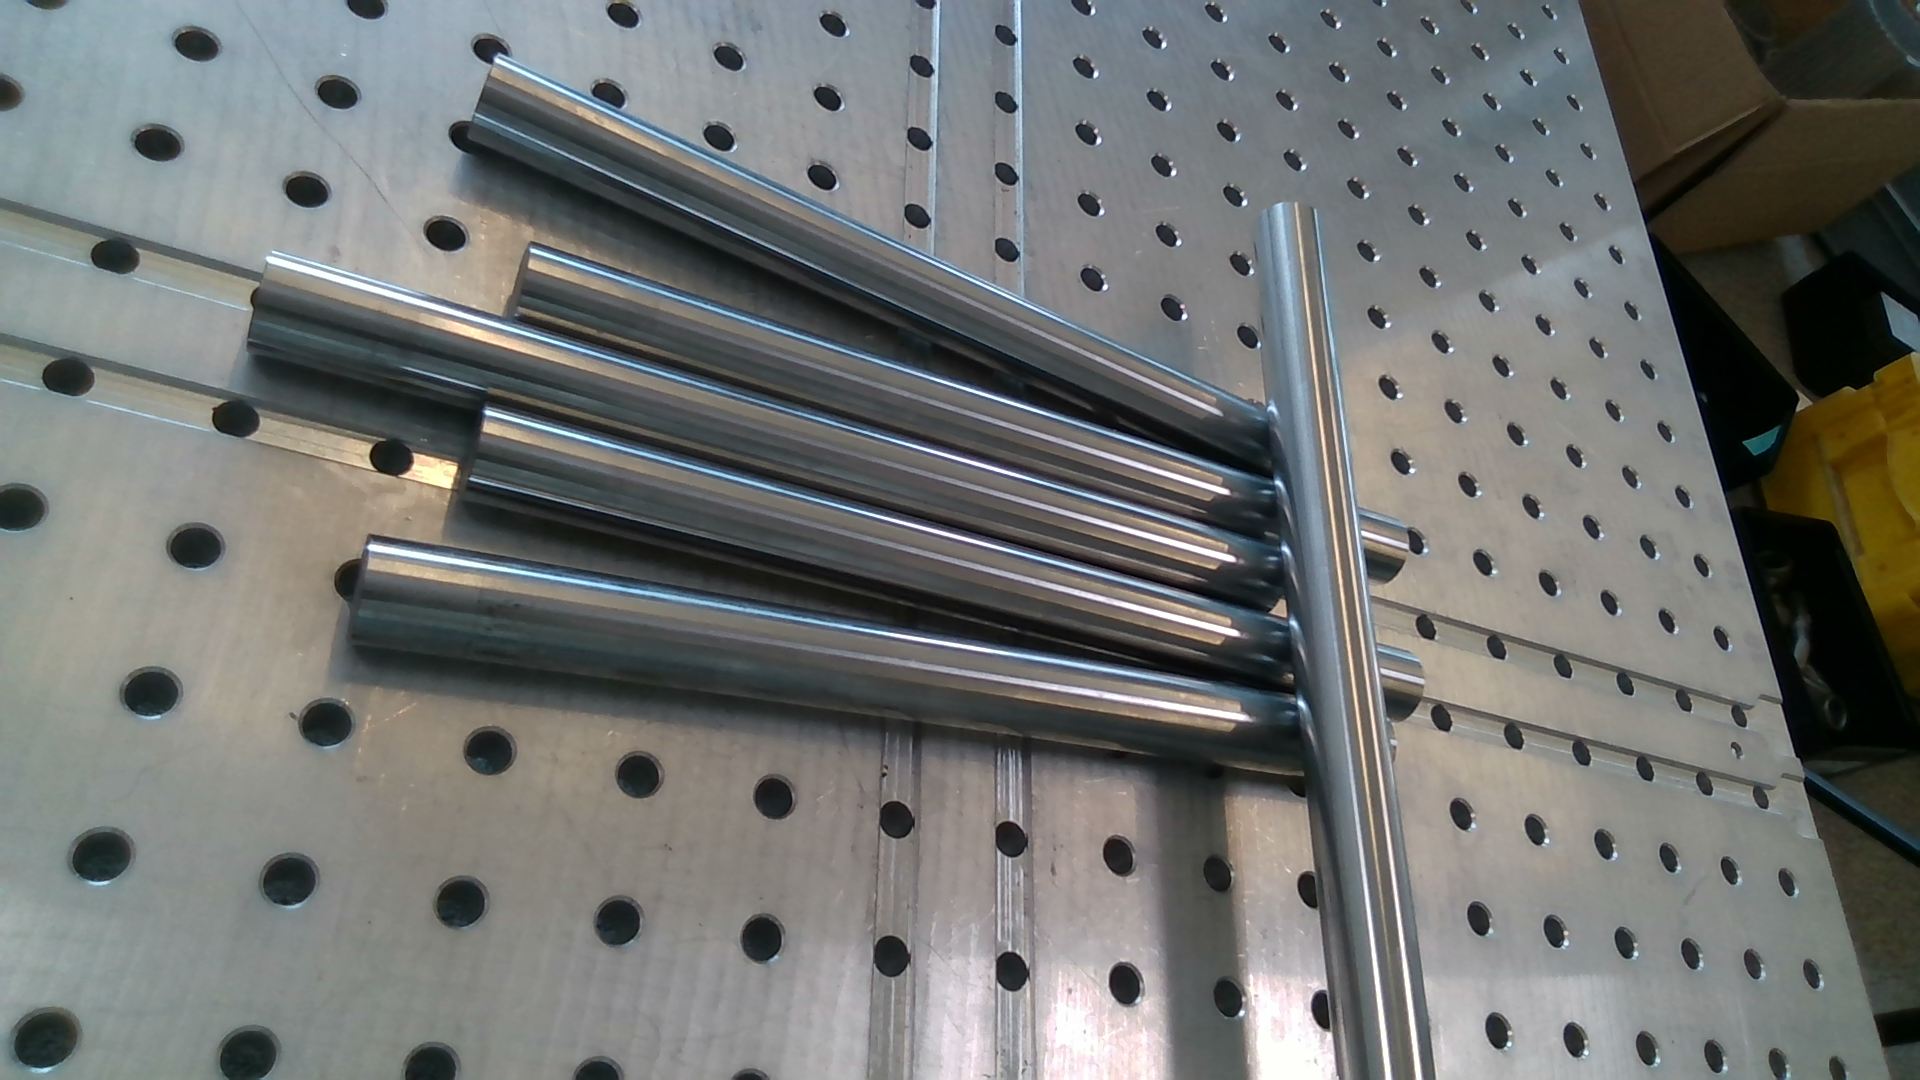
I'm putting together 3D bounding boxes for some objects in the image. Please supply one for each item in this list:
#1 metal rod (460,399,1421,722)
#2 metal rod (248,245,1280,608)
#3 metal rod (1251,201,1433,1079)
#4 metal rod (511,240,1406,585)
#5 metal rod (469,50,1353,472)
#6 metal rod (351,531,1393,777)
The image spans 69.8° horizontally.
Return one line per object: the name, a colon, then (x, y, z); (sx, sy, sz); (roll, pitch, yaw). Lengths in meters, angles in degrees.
metal rod: (0.013, 0.013, 0.399); (0.300, 0.025, 0.025); (15, 58, -24)
metal rod: (-0.033, -0.023, 0.388); (0.300, 0.025, 0.025); (15, 58, -24)
metal rod: (0.113, 0.017, 0.424); (0.025, 0.025, 0.299); (16, 58, -24)
metal rod: (0.016, -0.031, 0.423); (0.300, 0.025, 0.025); (15, 58, -25)
metal rod: (0.000, -0.074, 0.434); (0.300, 0.025, 0.025); (21, 56, -21)
metal rod: (-0.002, 0.038, 0.375); (0.300, 0.025, 0.025); (12, 60, -26)
